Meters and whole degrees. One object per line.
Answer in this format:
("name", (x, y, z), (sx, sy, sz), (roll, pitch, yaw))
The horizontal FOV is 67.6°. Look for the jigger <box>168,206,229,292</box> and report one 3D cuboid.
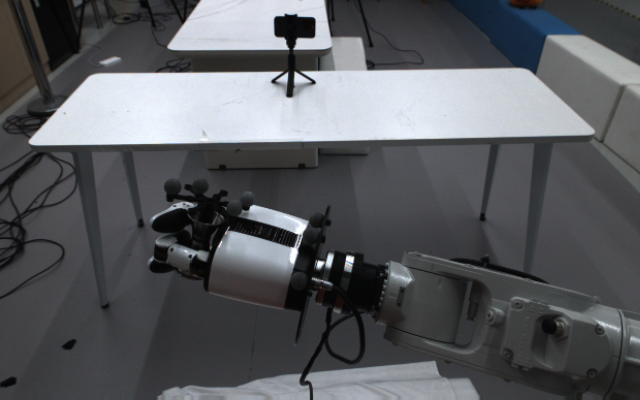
("jigger", (-0.130, 0.049, 0.543), (0.043, 0.071, 0.043), (15, 17, -5))
